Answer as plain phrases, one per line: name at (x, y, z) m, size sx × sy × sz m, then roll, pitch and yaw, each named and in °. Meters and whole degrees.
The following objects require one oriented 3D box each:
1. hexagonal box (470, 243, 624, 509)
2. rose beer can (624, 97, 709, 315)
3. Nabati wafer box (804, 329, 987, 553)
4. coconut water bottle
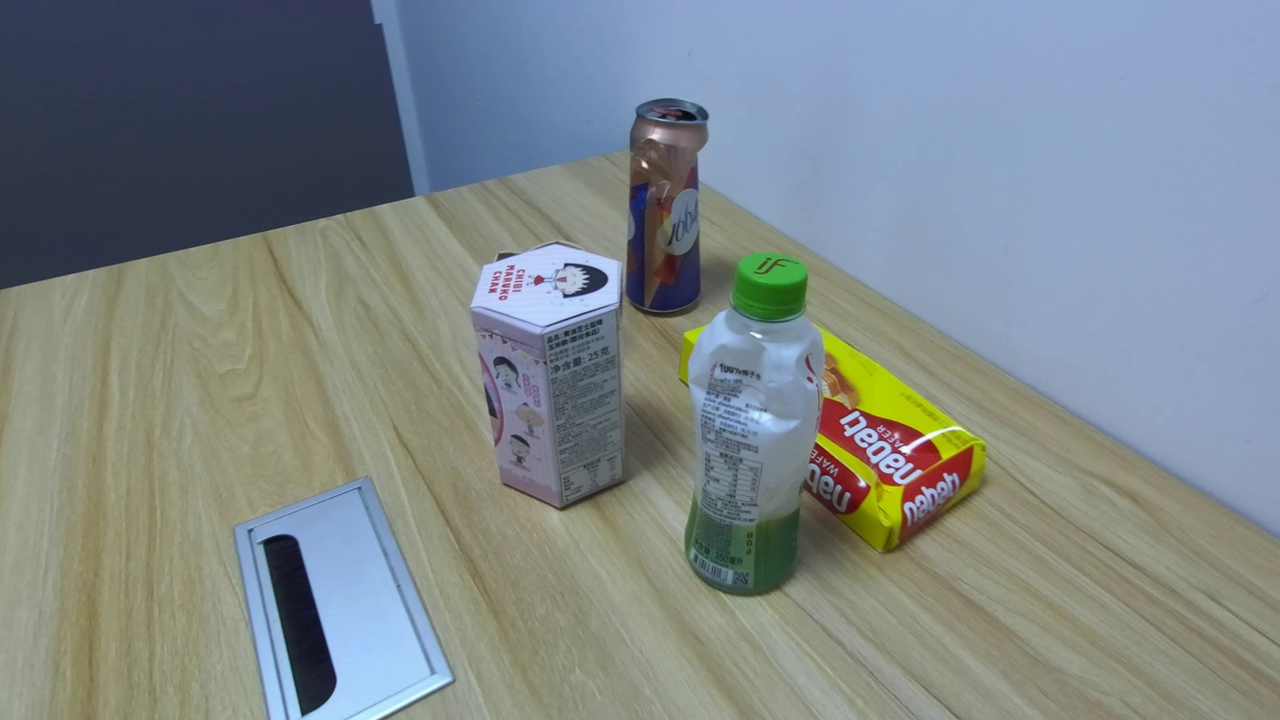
hexagonal box at (-0.051, 0.012, 0.426) m, size 0.084 × 0.136 × 0.091 m, roll 0°, pitch 37°, yaw -1°
rose beer can at (0.022, -0.117, 0.569) m, size 0.065 × 0.167 × 0.076 m, roll 23°, pitch 39°, yaw 26°
Nabati wafer box at (0.122, 0.031, 0.479) m, size 0.097 × 0.042 × 0.202 m, roll -21°, pitch 44°, yaw -28°
coconut water bottle at (0.058, 0.035, 0.351) m, size 0.067 × 0.187 × 0.067 m, roll 0°, pitch 36°, yaw 1°
